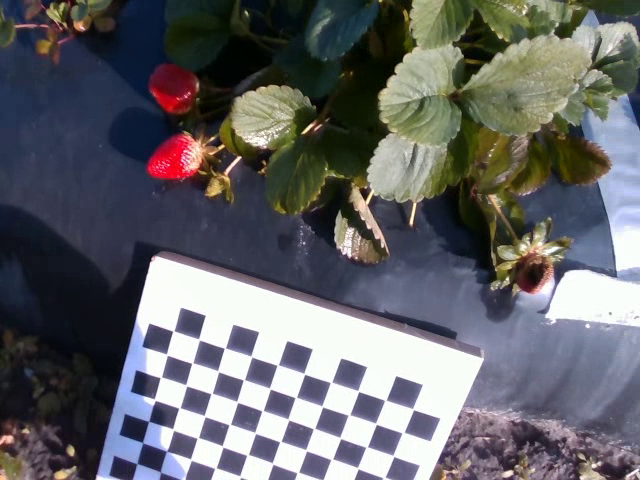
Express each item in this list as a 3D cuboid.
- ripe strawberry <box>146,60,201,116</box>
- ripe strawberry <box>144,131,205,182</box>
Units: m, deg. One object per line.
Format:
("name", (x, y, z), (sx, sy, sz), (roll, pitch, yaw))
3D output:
("ripe strawberry", (-0.135, -0.146, 0.574), (0.054, 0.048, 0.039), (28, 17, -26))
("ripe strawberry", (-0.130, -0.079, 0.555), (0.053, 0.043, 0.038), (-34, 11, -27))
